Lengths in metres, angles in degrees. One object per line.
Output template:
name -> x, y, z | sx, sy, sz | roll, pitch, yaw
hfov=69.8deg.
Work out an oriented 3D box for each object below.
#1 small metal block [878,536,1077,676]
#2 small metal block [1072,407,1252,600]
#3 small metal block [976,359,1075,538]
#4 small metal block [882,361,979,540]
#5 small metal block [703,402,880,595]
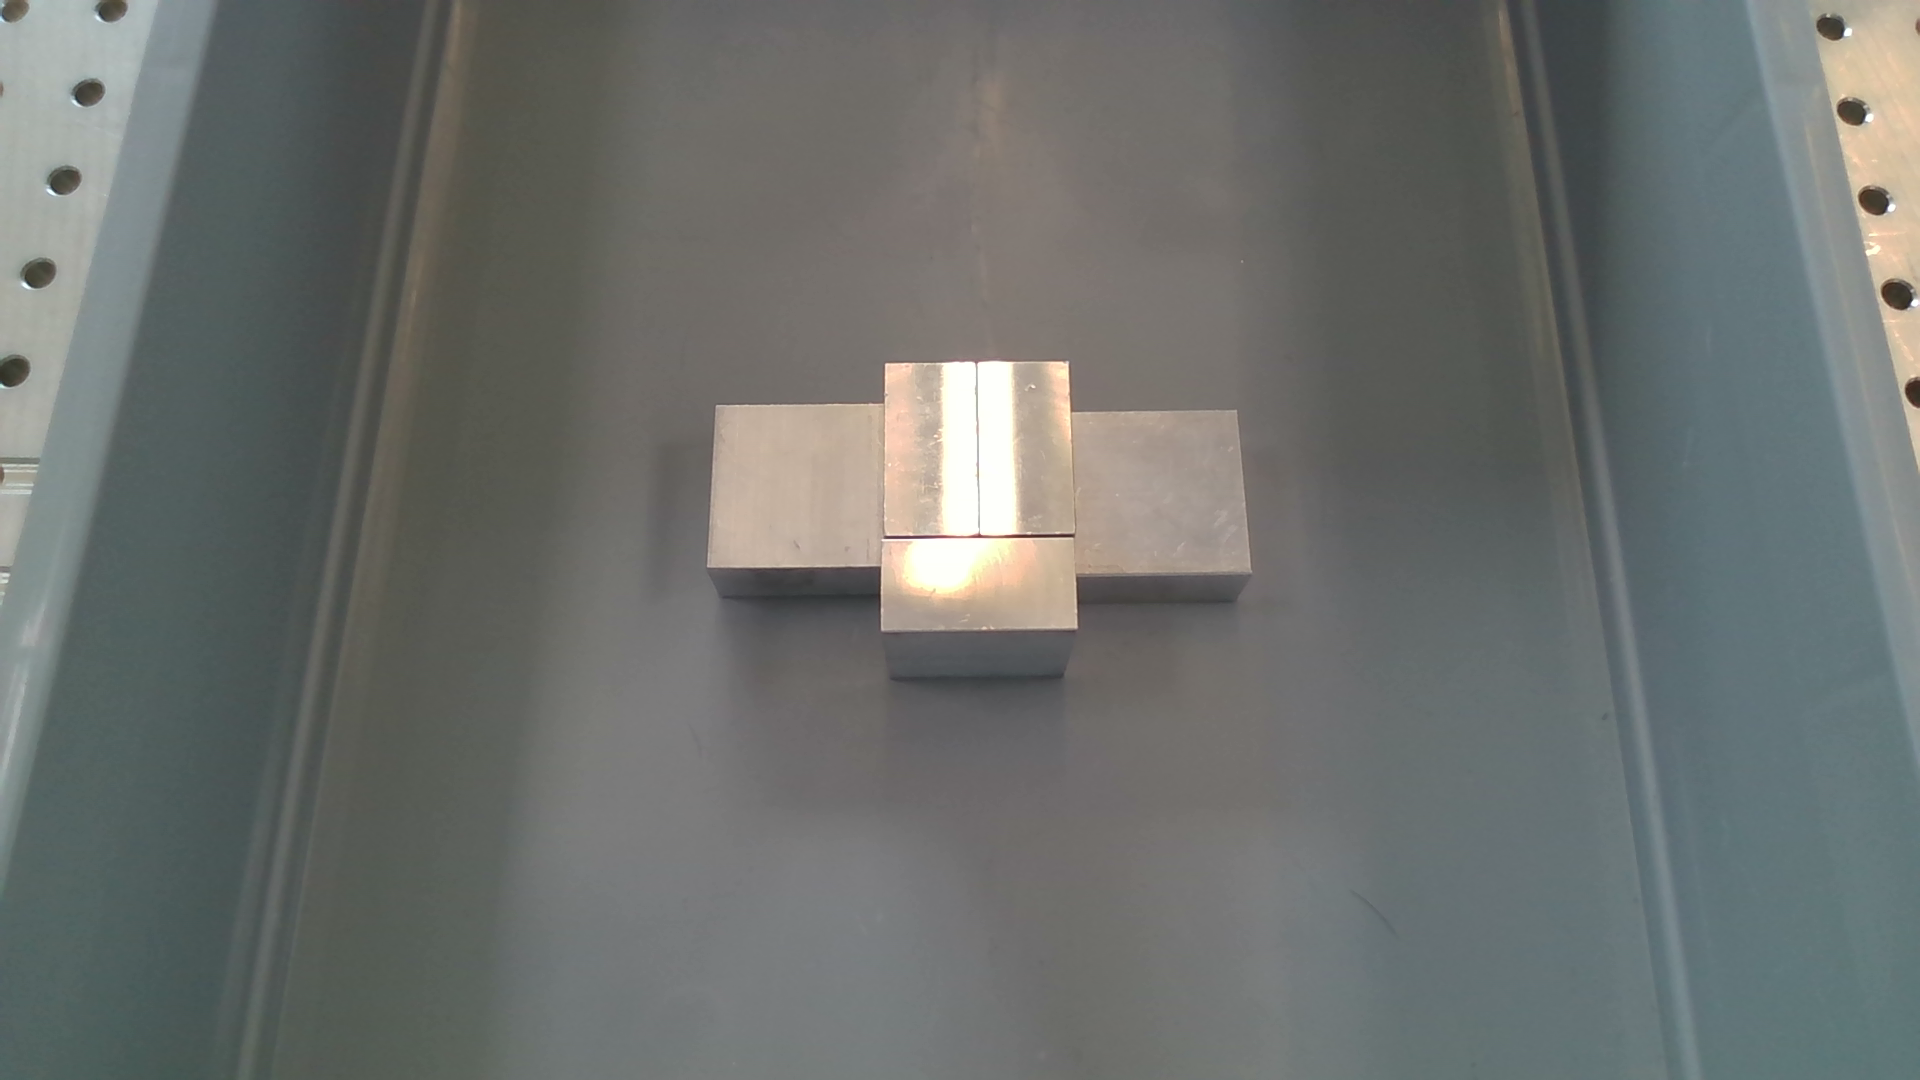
small metal block -> 0.004, 0.019, 0.374 | 0.050, 0.050, 0.025 | 0, 70, 0
small metal block -> 0.055, -0.010, 0.398 | 0.050, 0.025, 0.050 | 0, 70, 0
small metal block -> 0.017, -0.017, 0.387 | 0.025, 0.050, 0.050 | 0, 70, 0
small metal block -> -0.008, -0.016, 0.387 | 0.025, 0.050, 0.050 | 0, 70, 0
small metal block -> -0.046, -0.012, 0.398 | 0.050, 0.025, 0.050 | 0, 70, 0
